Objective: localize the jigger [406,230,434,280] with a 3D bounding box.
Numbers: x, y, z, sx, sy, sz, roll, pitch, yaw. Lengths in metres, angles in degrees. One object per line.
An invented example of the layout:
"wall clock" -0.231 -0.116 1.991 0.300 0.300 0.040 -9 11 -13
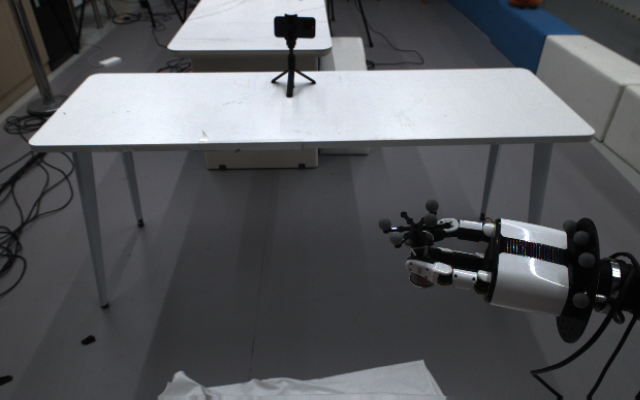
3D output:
"jigger" 0.139 0.080 0.660 0.043 0.071 0.043 -12 29 7
